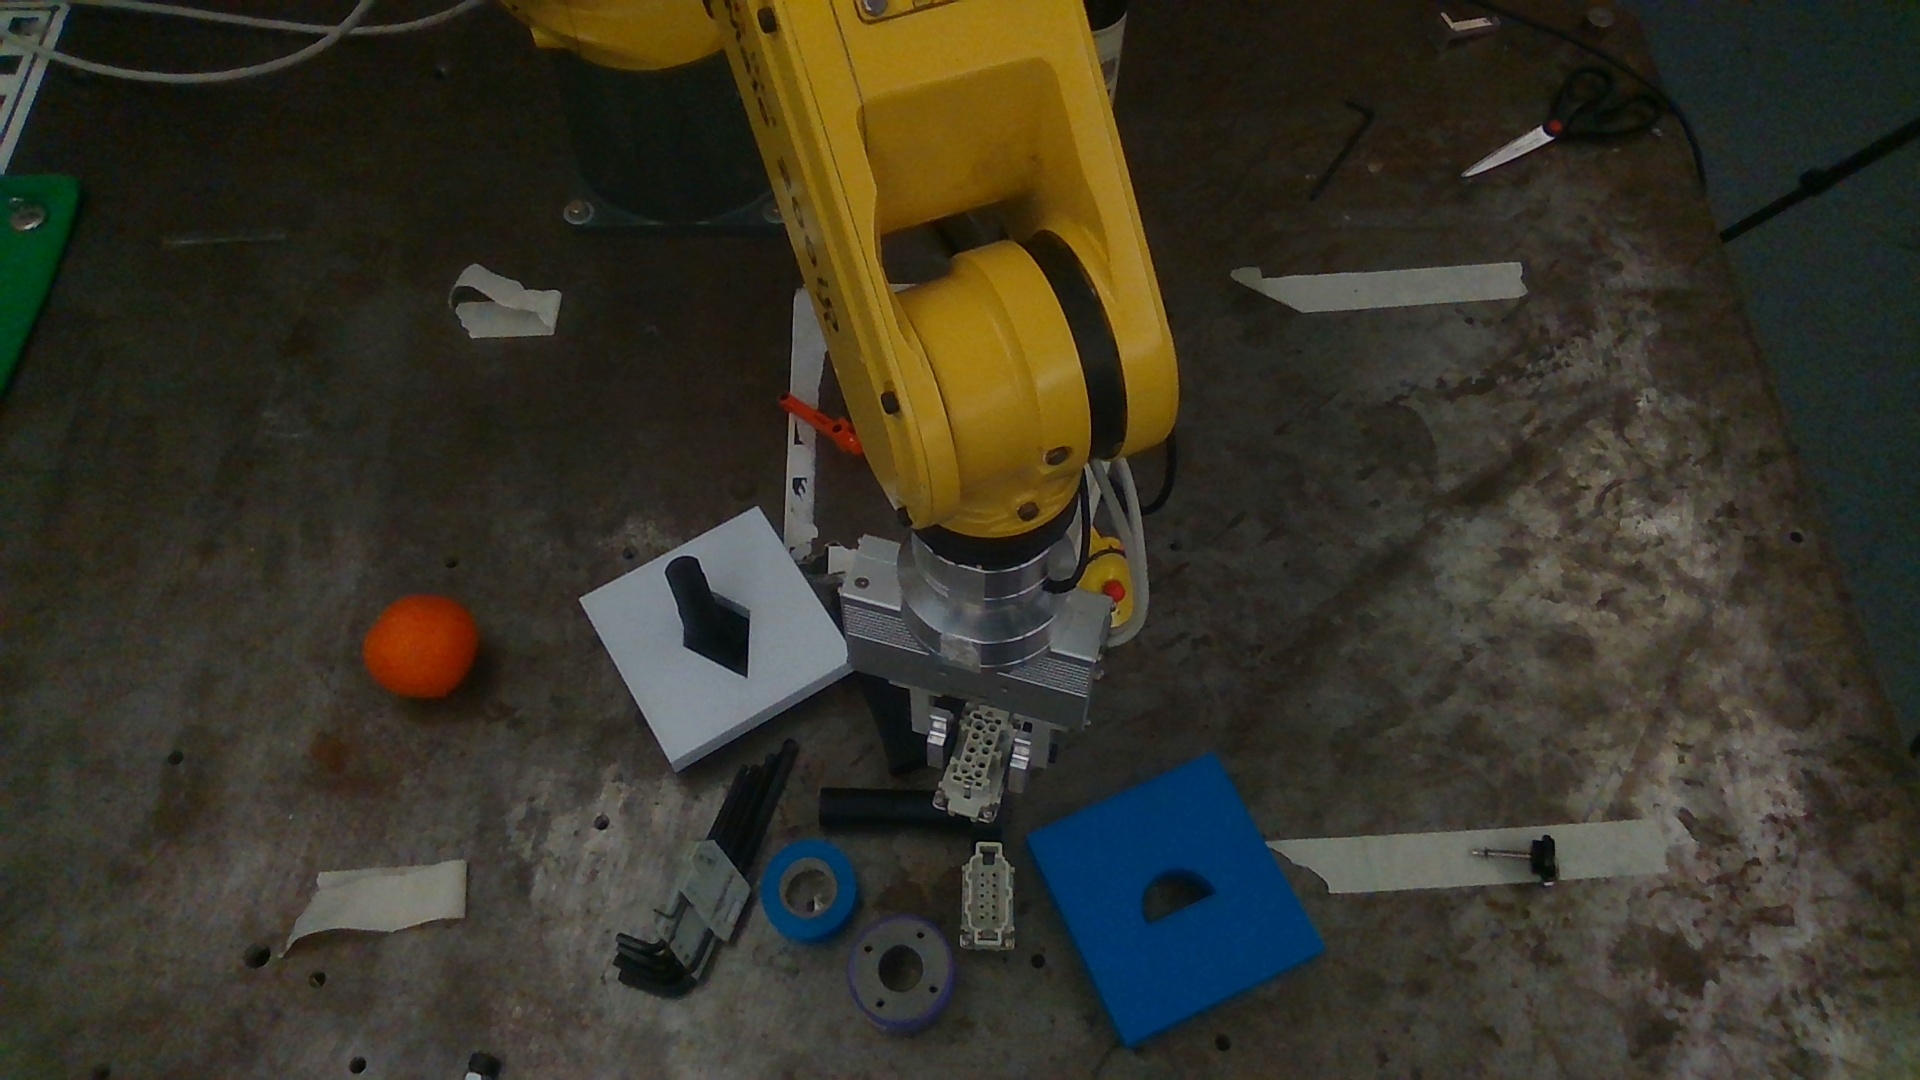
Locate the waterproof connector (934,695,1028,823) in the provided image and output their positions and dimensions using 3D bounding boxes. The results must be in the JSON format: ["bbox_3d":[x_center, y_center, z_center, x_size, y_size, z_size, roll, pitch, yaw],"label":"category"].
[{"bbox_3d":[0.012,0.117,0.743,0.037,0.038,0.069,9,55,16],"label":"waterproof connector"}]
